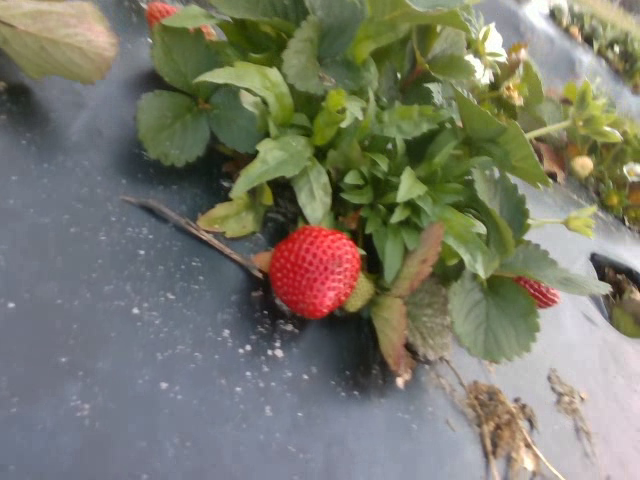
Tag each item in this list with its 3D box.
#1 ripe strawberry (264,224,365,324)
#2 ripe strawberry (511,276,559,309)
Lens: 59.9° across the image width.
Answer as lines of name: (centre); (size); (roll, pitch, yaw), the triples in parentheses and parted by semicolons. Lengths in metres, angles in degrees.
ripe strawberry: (-0.005, 0.018, 0.241); (0.043, 0.051, 0.042); (30, -53, -22)
ripe strawberry: (0.125, 0.027, 0.339); (0.046, 0.043, 0.047); (28, -31, 11)
